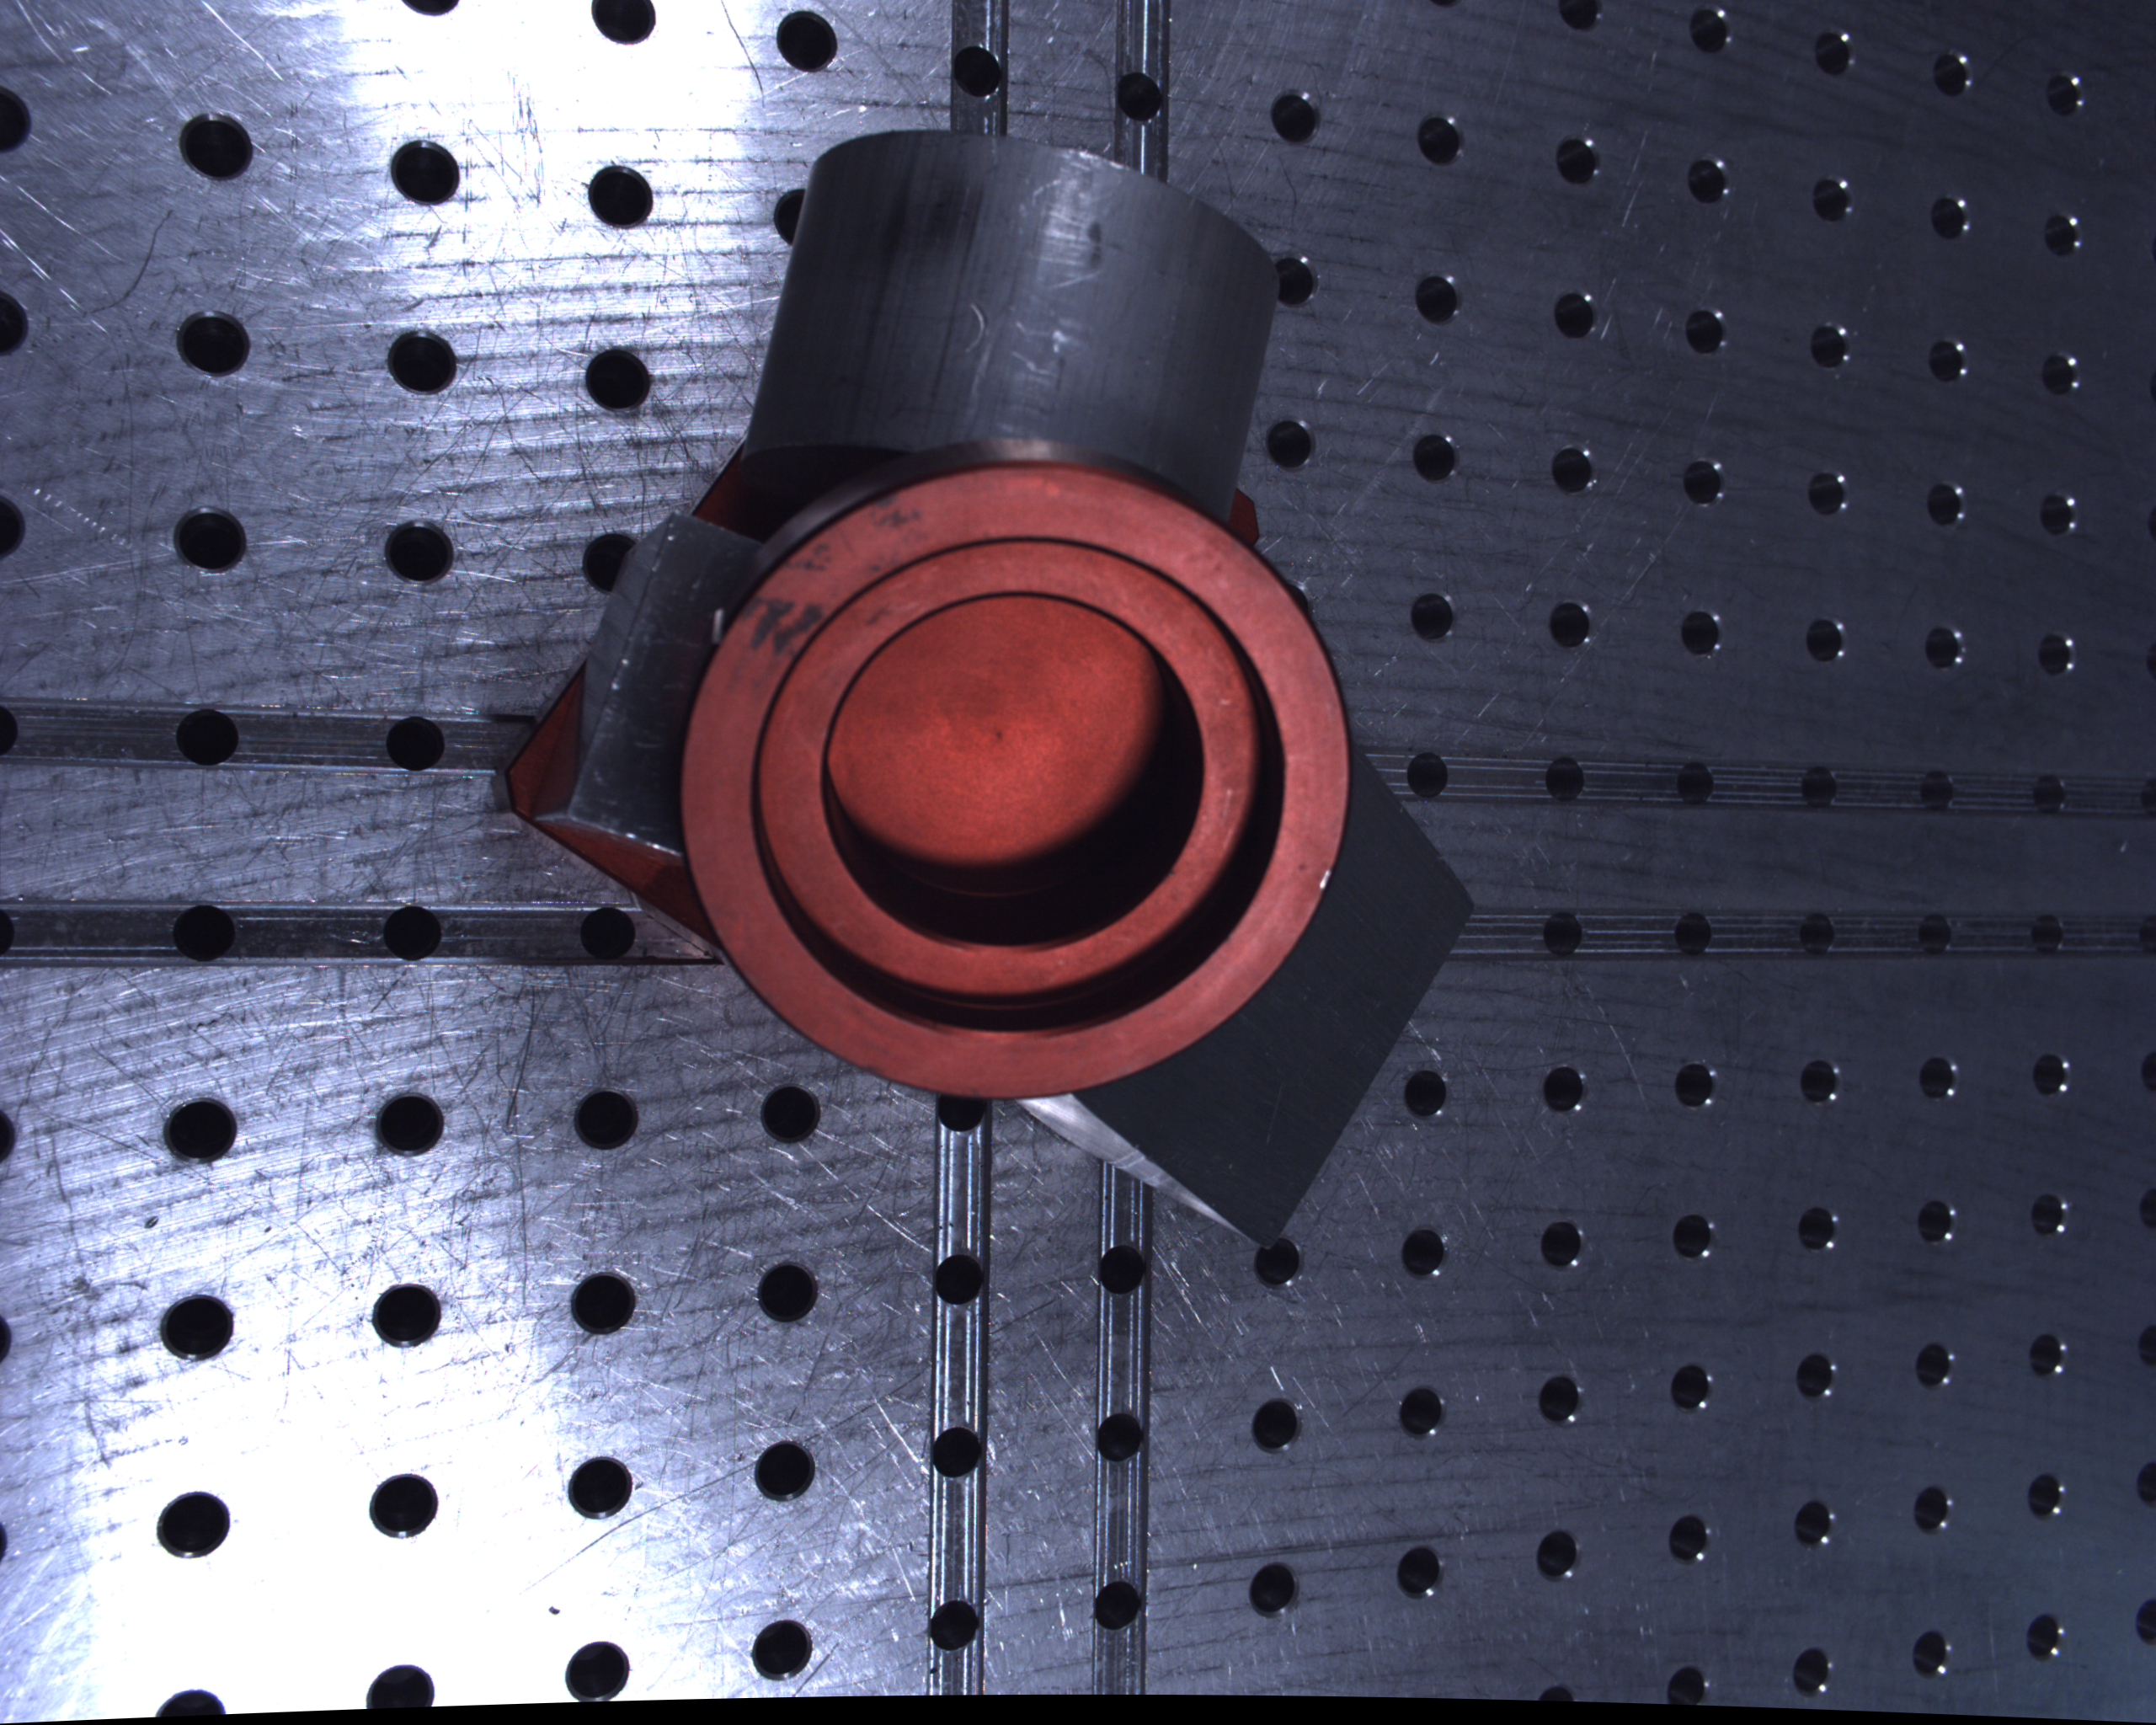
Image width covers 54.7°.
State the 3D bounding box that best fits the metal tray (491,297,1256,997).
[{"bbox_3d":[-0.037,-0.040,0.398,0.090,0.030,0.130,36,78,-17],"label":"metal tray"}]

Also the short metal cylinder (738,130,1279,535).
[{"bbox_3d":[-0.011,-0.080,0.348,0.081,0.080,0.050,14,85,-20],"label":"short metal cylinder"}]

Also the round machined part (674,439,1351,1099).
[{"bbox_3d":[-0.011,-0.016,0.321,0.099,0.042,0.097,-3,110,-8],"label":"round machined part"}]

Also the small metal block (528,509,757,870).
[{"bbox_3d":[-0.067,-0.026,0.342,0.025,0.050,0.050,21,83,-19],"label":"small metal block"}]

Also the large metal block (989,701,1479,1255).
[{"bbox_3d":[0.020,0.015,0.389,0.080,0.050,0.080,-58,138,-11],"label":"large metal block"}]
